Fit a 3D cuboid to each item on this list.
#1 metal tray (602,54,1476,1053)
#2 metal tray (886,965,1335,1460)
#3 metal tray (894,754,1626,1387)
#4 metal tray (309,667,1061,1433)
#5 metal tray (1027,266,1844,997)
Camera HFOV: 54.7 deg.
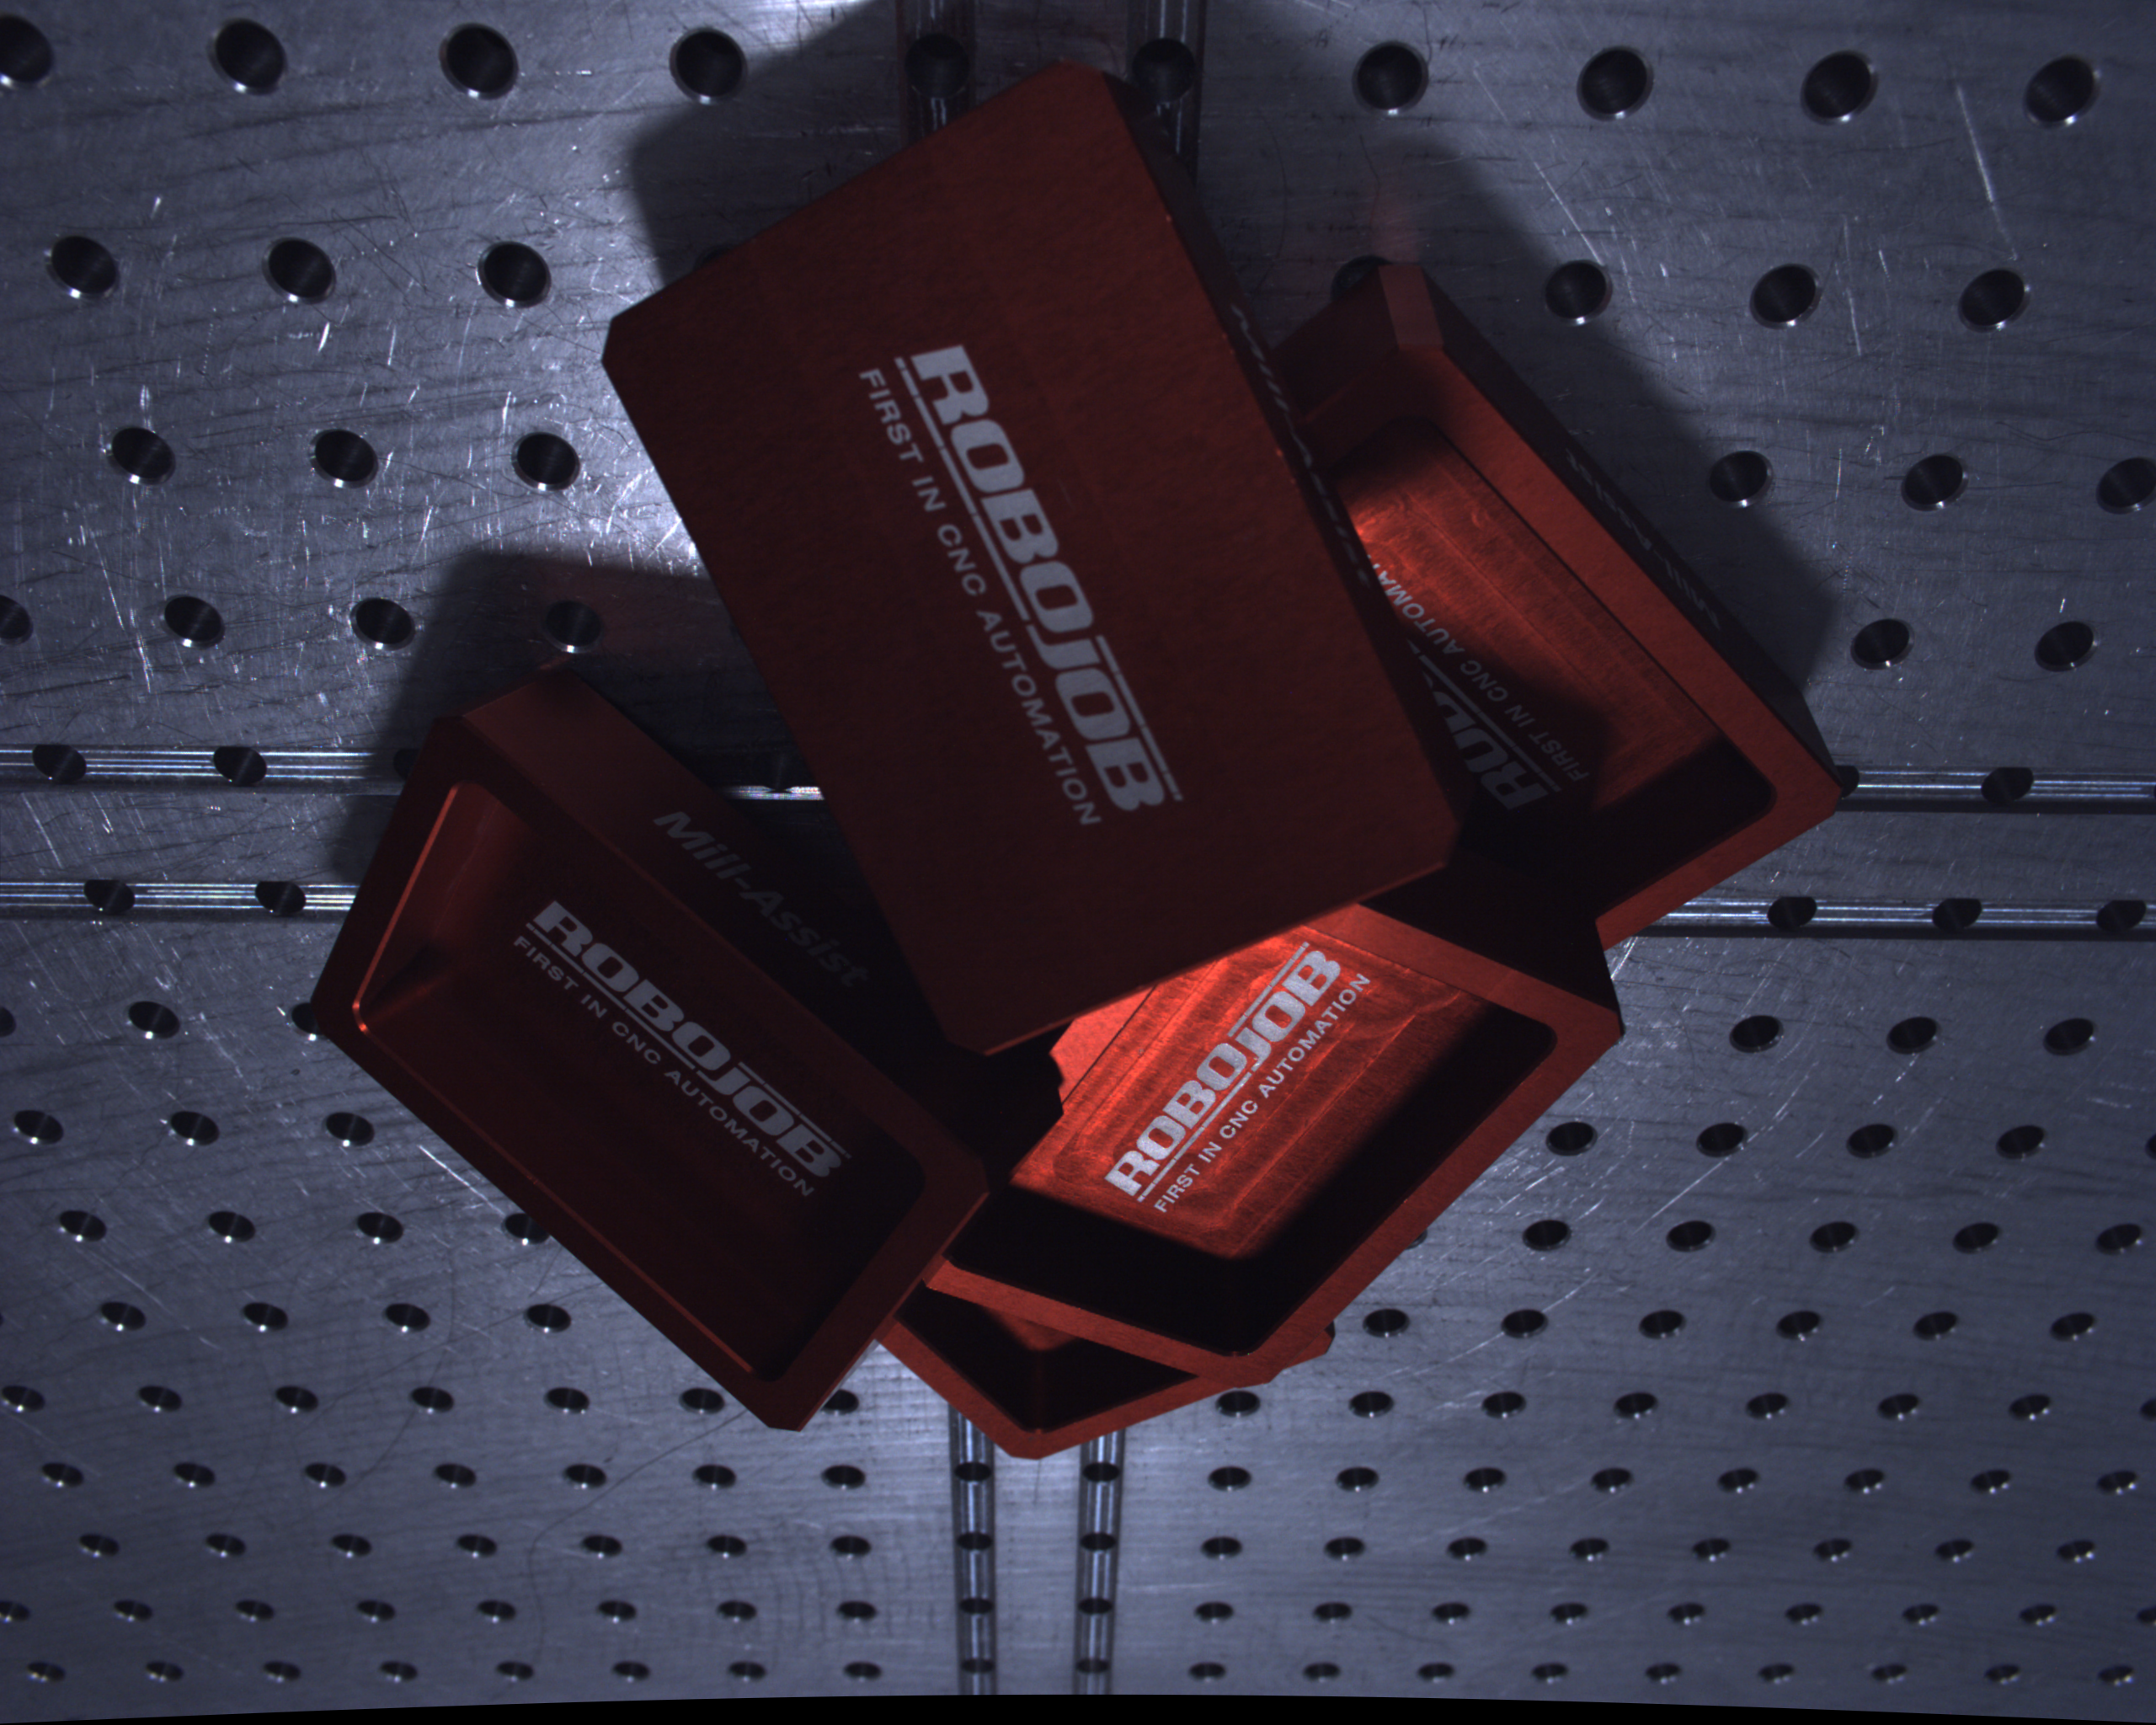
[{"bbox_3d":[-0.005,-0.045,0.330,0.090,0.030,0.129,-24,96,18],"label":"metal tray"},{"bbox_3d":[-0.011,0.081,0.477,0.090,0.030,0.130,-26,126,20],"label":"metal tray"},{"bbox_3d":[0.031,0.046,0.408,0.091,0.030,0.129,23,126,-19],"label":"metal tray"},{"bbox_3d":[-0.078,0.037,0.398,0.130,0.030,0.089,40,124,6],"label":"metal tray"},{"bbox_3d":[0.065,-0.033,0.381,0.090,0.030,0.130,-36,122,26],"label":"metal tray"}]
